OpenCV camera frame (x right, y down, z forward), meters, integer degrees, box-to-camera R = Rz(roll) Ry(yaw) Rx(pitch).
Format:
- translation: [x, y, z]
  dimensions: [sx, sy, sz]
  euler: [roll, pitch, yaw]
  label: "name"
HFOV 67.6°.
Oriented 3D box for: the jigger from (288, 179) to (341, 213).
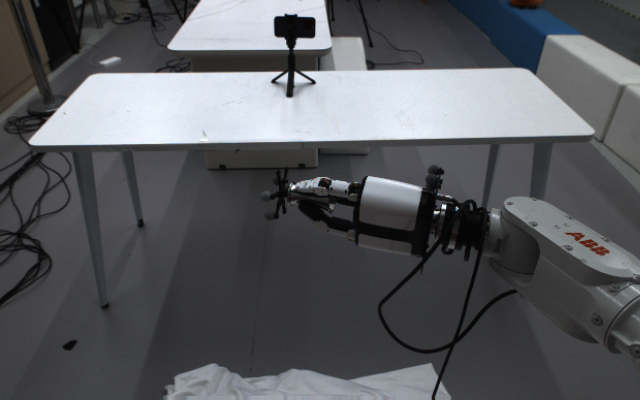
- translation: [-0.006, -0.011, 0.755]
  dimensions: [0.071, 0.043, 0.043]
  euler: [8, 35, 14]
  label: "jigger"
